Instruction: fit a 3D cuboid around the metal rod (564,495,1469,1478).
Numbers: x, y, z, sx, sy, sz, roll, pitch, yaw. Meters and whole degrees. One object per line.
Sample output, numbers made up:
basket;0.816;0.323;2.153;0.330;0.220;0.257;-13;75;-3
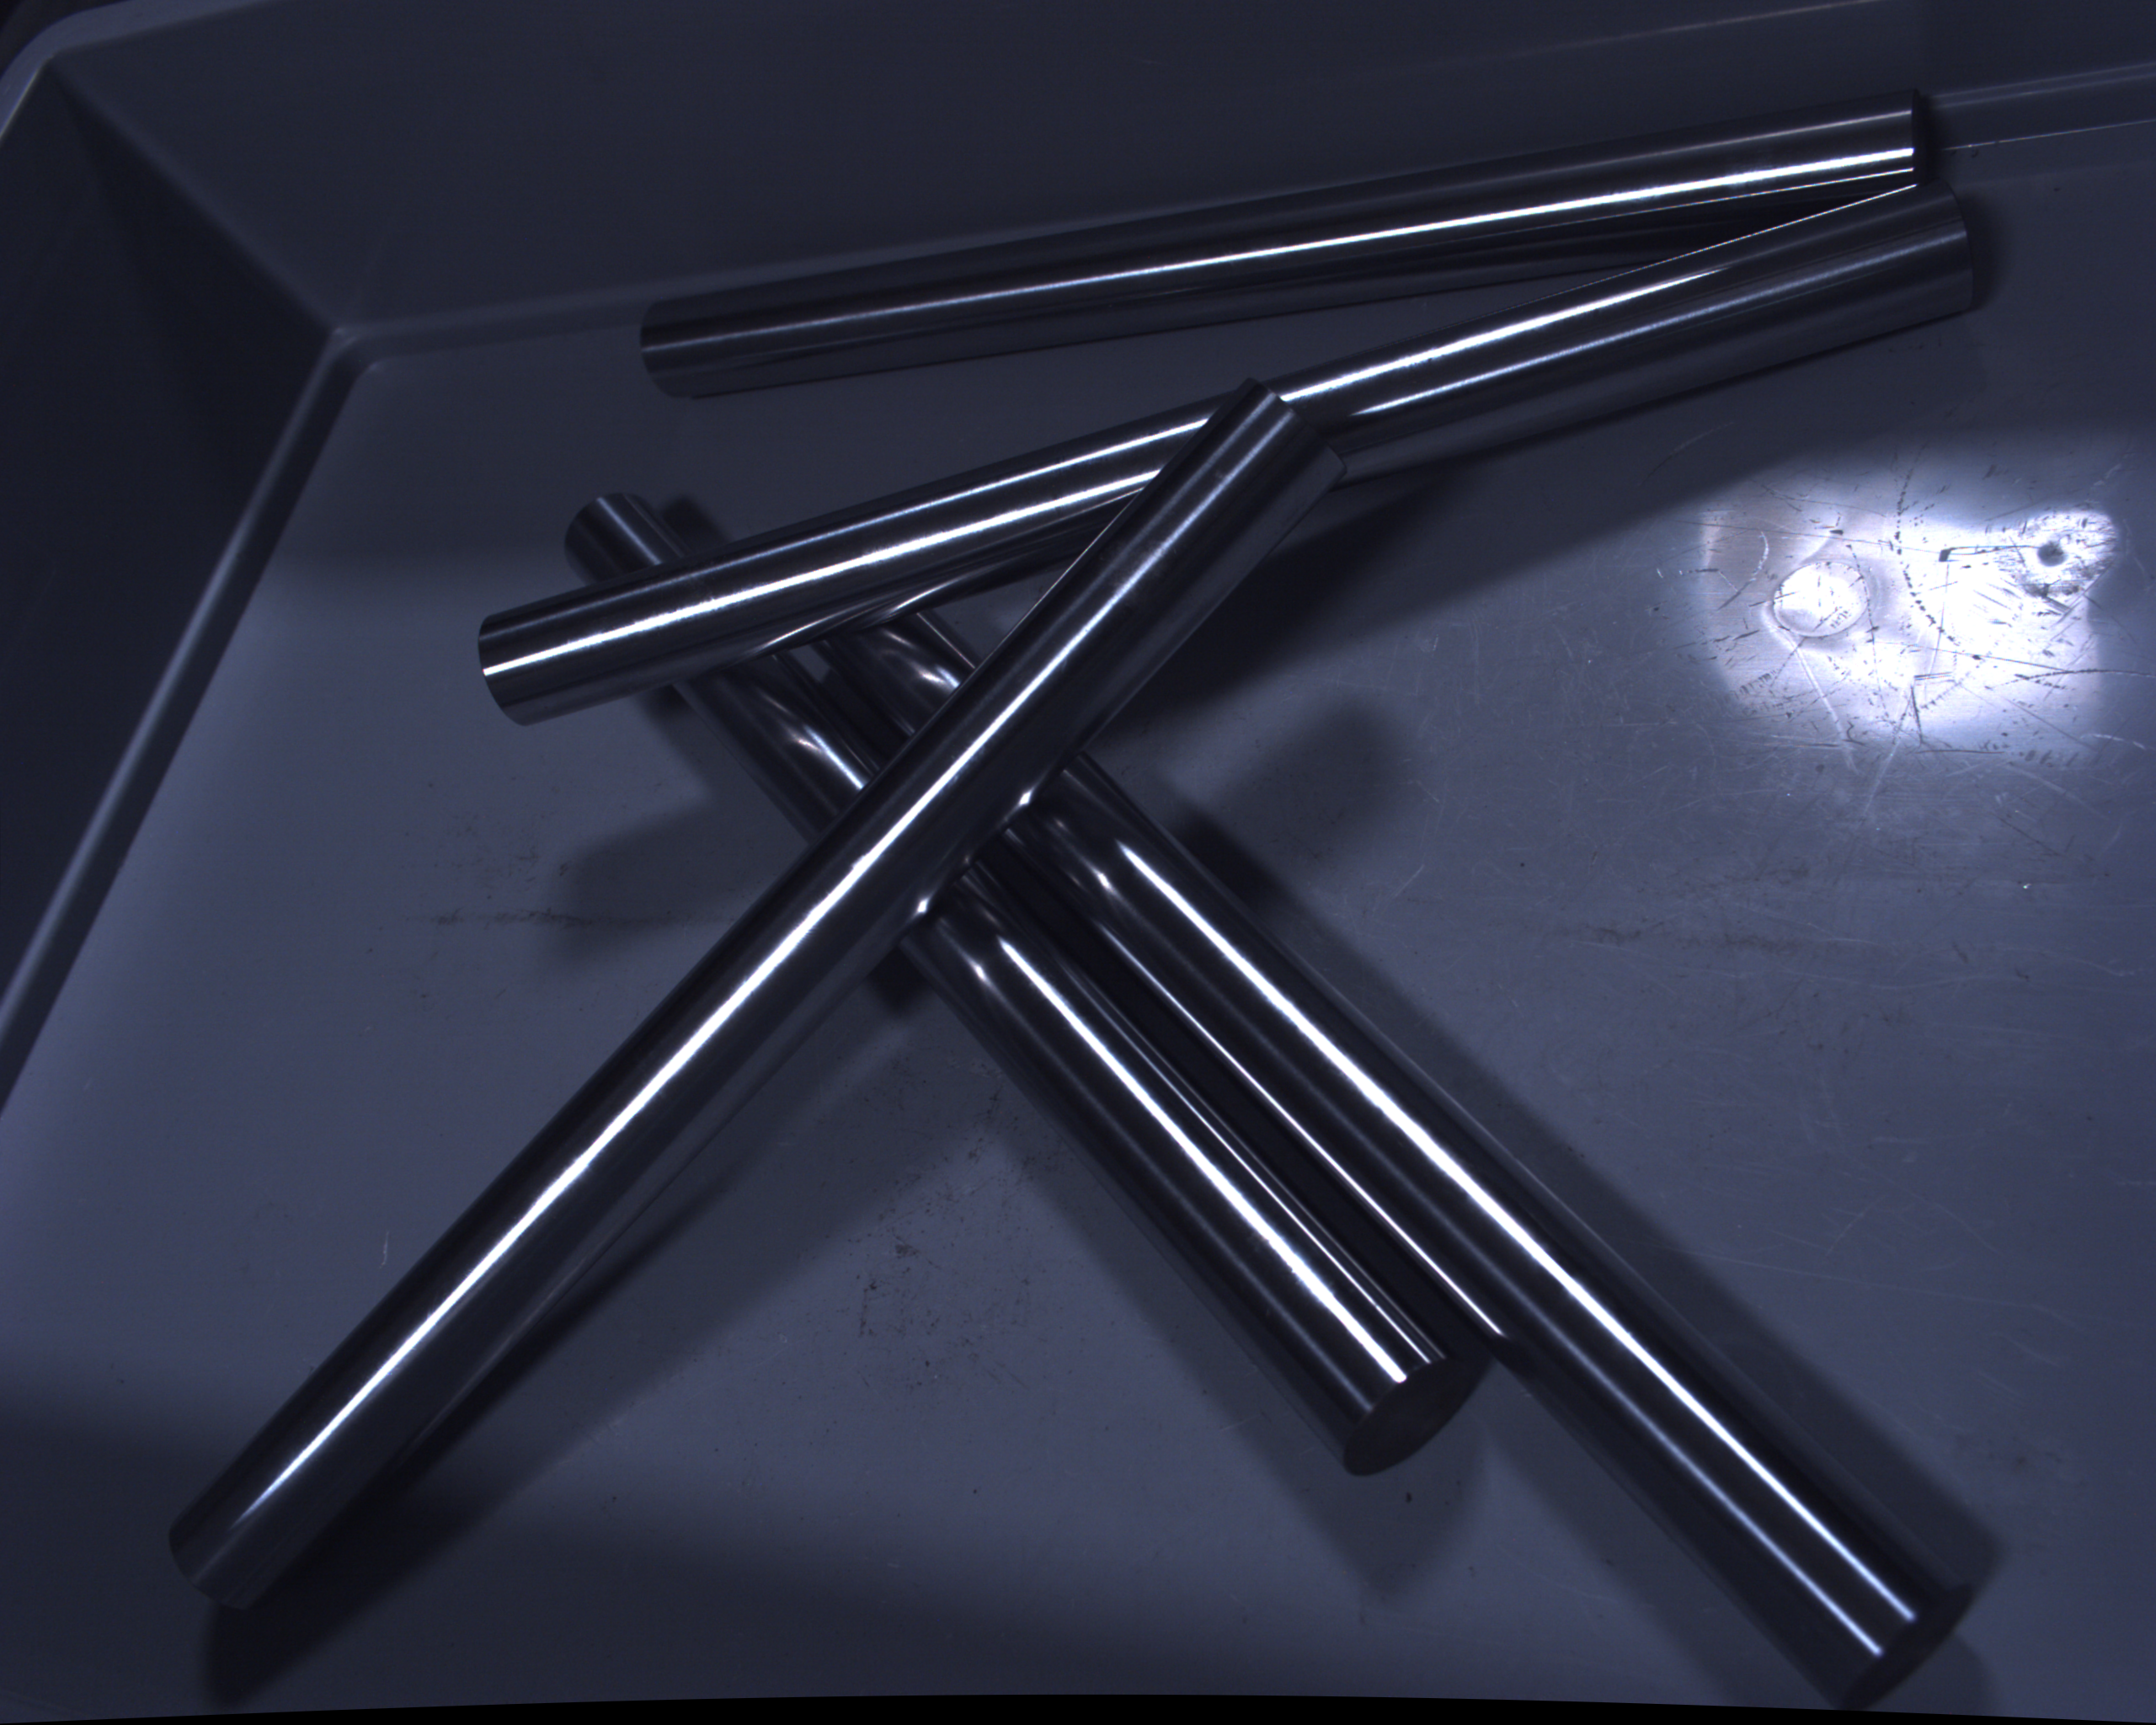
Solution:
metal rod;-0.032;0.004;0.418;0.025;0.025;0.300;-43;51;-2

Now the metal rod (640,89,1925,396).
metal rod;0.029;-0.135;0.471;0.300;0.025;0.025;-1;62;27

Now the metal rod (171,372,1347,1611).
metal rod;-0.063;0.028;0.393;0.300;0.025;0.025;-46;51;5

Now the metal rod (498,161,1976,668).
metal rod;0.022;-0.087;0.425;0.301;0.025;0.025;-13;56;13

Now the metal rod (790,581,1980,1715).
metal rod;0.029;0.023;0.374;0.025;0.025;0.300;-43;51;-2
